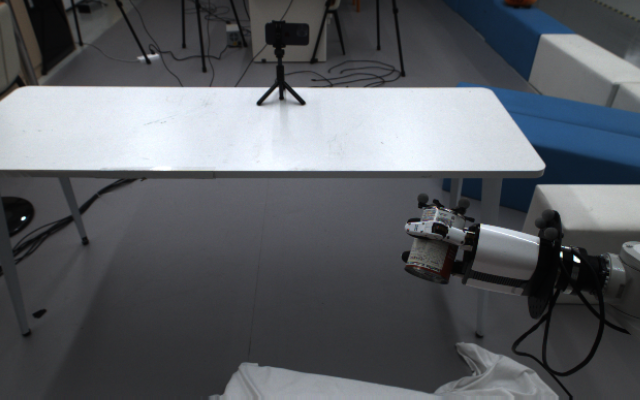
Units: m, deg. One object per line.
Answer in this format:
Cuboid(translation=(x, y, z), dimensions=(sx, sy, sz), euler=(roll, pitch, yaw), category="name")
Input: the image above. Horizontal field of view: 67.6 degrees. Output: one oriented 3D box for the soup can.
Cuboid(translation=(0.177, 0.068, 0.736), dimensions=(0.067, 0.067, 0.101), euler=(15, 74, 18), category="soup can")
